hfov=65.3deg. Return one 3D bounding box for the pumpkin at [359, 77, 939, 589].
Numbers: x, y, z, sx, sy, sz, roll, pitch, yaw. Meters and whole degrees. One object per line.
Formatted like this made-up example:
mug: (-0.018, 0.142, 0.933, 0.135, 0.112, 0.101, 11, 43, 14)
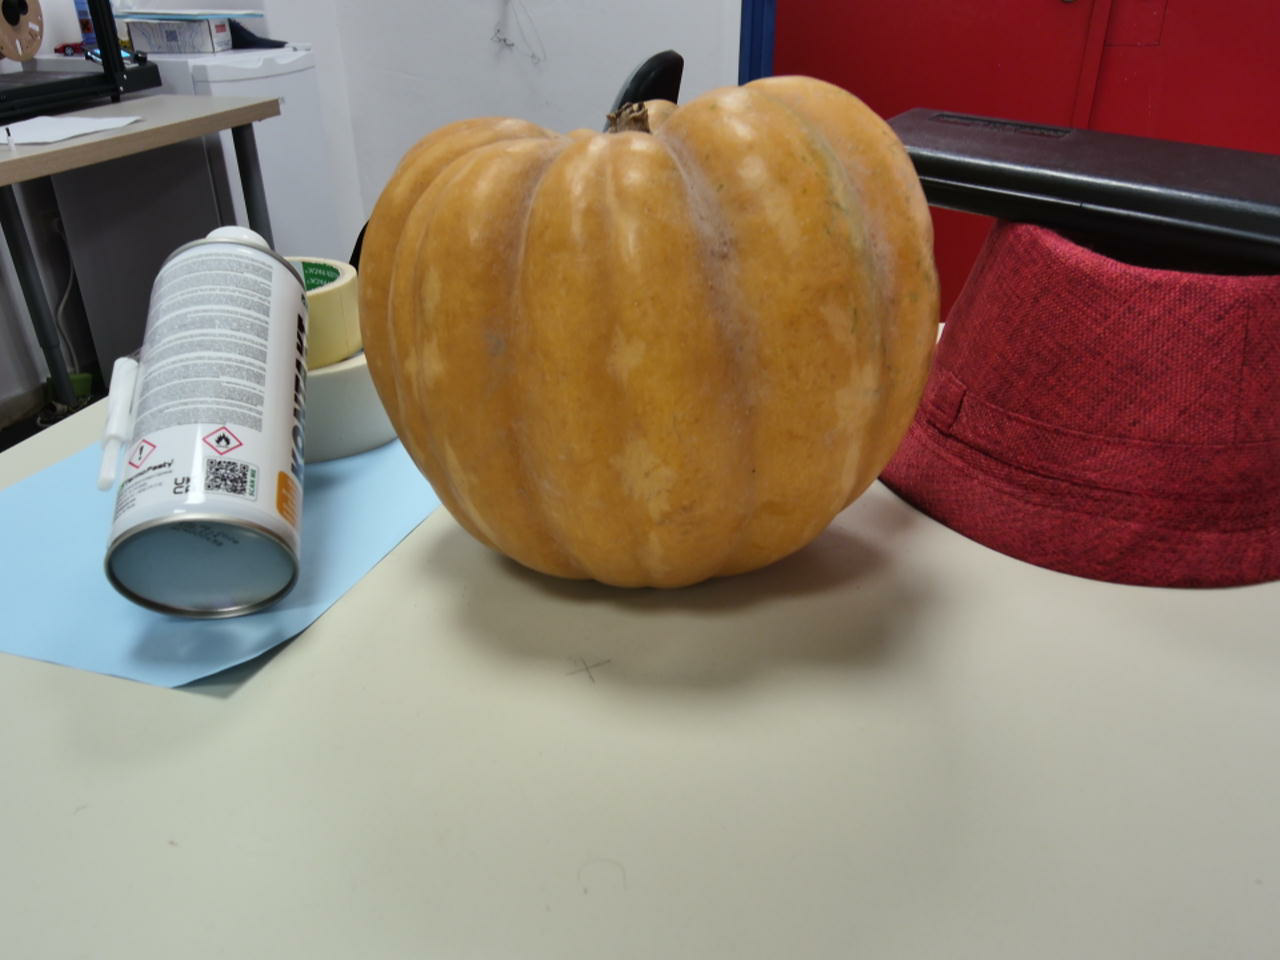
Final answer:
pumpkin: (0.006, -0.060, 0.409, 0.230, 0.194, 0.230, 0, 24, 0)
